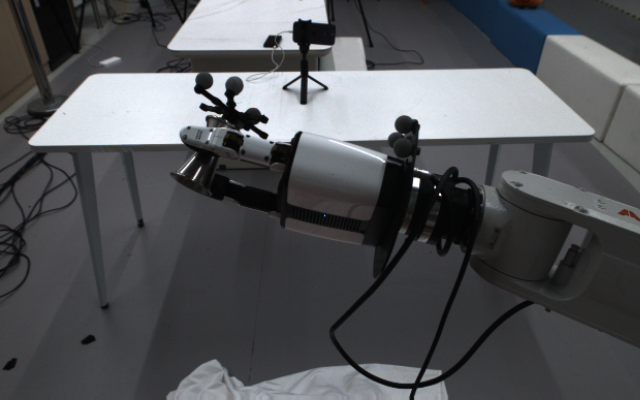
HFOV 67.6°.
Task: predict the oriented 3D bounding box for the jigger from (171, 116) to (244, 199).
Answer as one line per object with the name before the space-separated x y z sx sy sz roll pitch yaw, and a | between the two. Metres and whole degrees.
jigger | -0.109 -0.045 0.472 0.043 0.043 0.071 19 72 23
